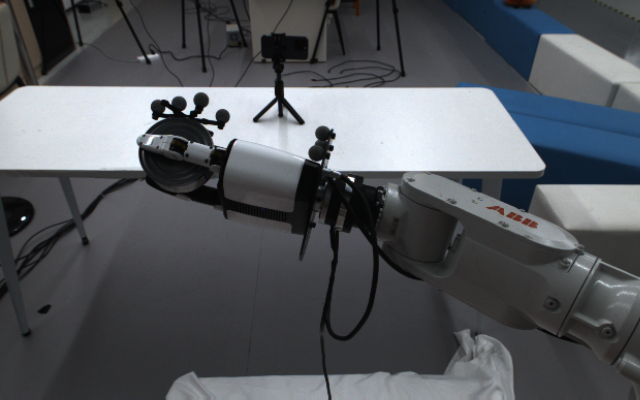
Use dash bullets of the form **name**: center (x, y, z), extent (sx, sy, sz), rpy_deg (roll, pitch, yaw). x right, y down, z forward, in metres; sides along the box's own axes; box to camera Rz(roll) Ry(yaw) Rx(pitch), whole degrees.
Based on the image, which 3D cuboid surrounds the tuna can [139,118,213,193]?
- **tuna can**: center (-0.166, -0.053, 0.574), extent (0.085, 0.034, 0.085), rpy_deg (1, 73, -2)
